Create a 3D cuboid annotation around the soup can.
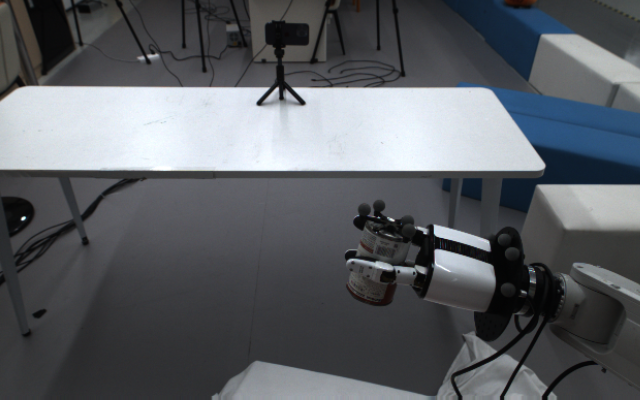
[{"bbox_3d":[0.083,0.084,0.663,0.067,0.101,0.067,13,18,-4],"label":"soup can"}]
